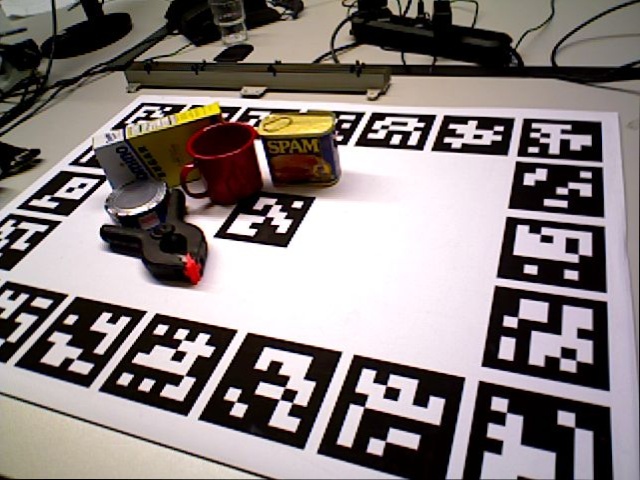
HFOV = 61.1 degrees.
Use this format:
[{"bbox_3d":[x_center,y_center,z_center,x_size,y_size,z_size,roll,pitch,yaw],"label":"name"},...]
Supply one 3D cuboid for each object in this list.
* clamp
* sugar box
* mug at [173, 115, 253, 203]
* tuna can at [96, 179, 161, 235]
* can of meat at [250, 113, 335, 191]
[{"bbox_3d":[-0.196,0.009,0.649,0.119,0.037,0.165,-28,48,-24],"label":"clamp"},{"bbox_3d":[-0.224,-0.115,0.749,0.175,0.094,0.045,-18,40,-9],"label":"sugar box"},{"bbox_3d":[-0.143,-0.097,0.705,0.093,0.083,0.115,30,57,36],"label":"mug"},{"bbox_3d":[-0.252,-0.041,0.709,0.086,0.034,0.084,-7,44,6],"label":"tuna can"},{"bbox_3d":[-0.032,-0.113,0.708,0.102,0.085,0.056,2,42,13],"label":"can of meat"}]
